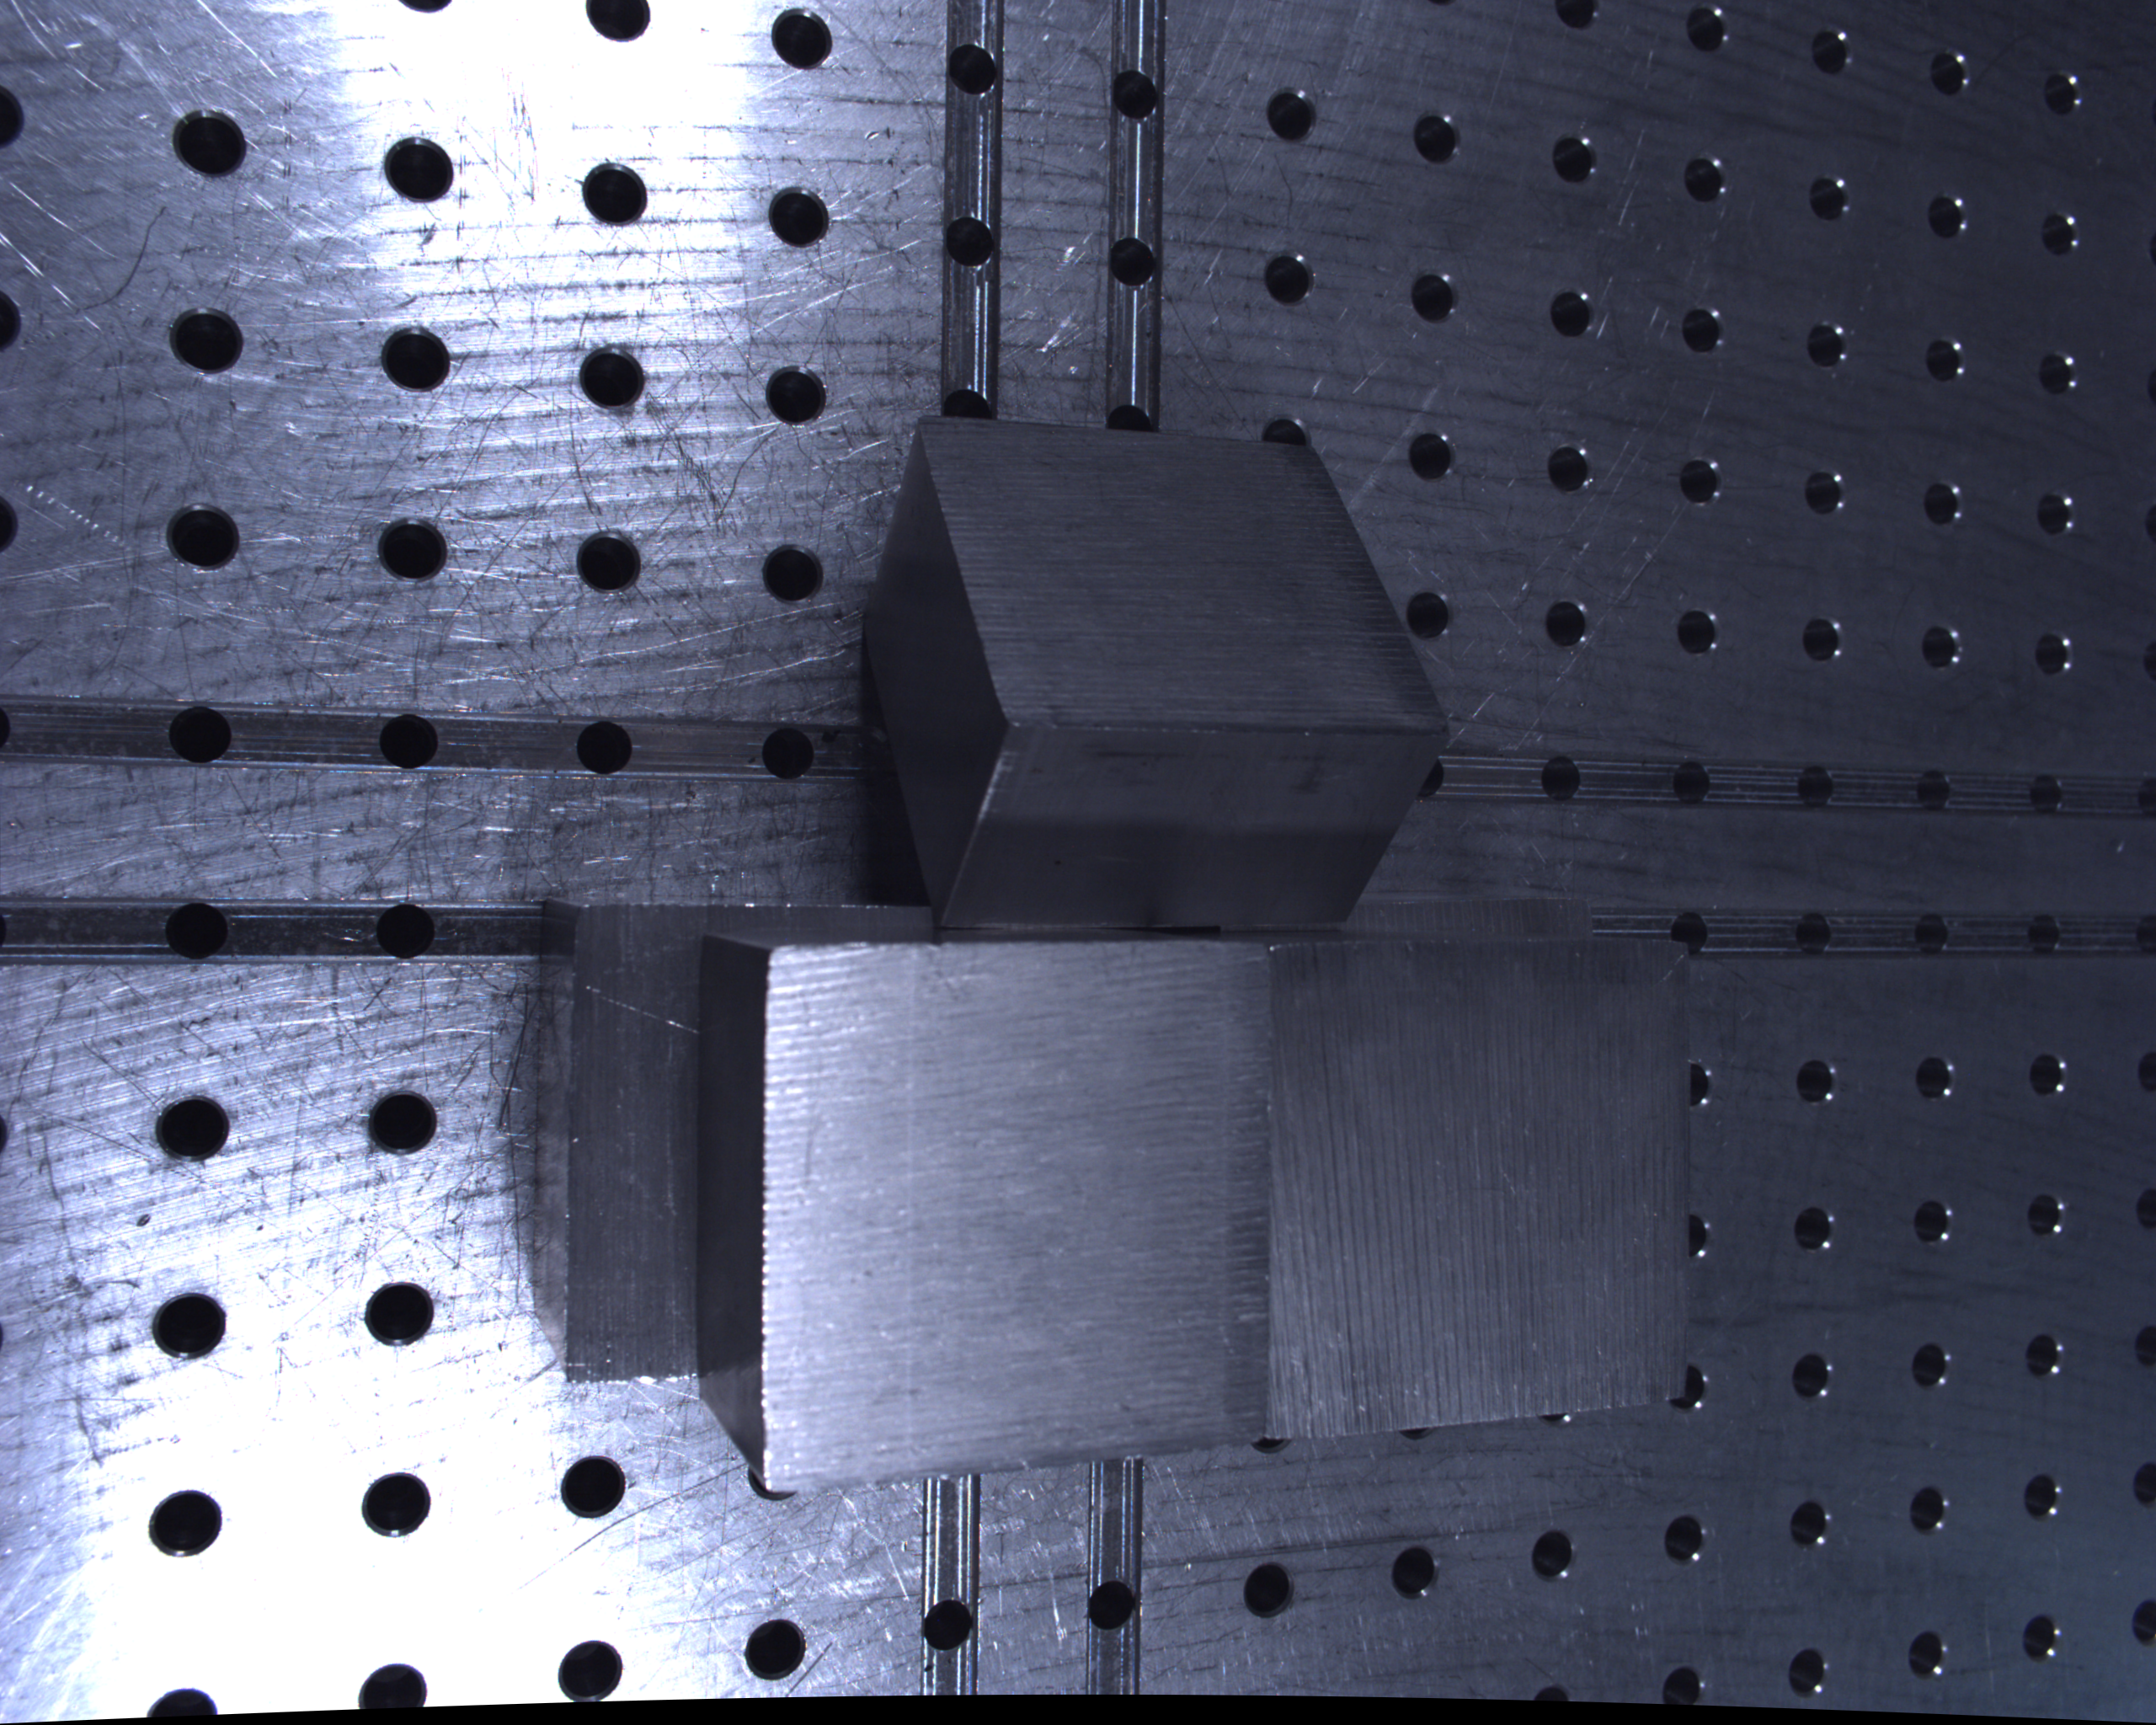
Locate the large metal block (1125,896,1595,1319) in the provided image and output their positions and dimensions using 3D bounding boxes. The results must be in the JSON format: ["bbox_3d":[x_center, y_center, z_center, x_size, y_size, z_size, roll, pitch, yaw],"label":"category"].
[{"bbox_3d":[0.056,0.047,0.421,0.081,0.050,0.079,-1,91,-20],"label":"large metal block"}]

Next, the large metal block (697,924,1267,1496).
[{"bbox_3d":[-0.017,0.051,0.338,0.081,0.050,0.079,0,90,-21],"label":"large metal block"}]

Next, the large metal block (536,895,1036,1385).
[{"bbox_3d":[-0.055,0.047,0.380,0.081,0.050,0.079,2,90,-21],"label":"large metal block"}]

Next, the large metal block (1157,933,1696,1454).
[{"bbox_3d":[0.060,0.053,0.367,0.081,0.050,0.079,0,90,-21],"label":"large metal block"}]

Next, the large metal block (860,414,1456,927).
[{"bbox_3d":[0.011,-0.034,0.382,0.081,0.050,0.080,0,48,-21],"label":"large metal block"}]
